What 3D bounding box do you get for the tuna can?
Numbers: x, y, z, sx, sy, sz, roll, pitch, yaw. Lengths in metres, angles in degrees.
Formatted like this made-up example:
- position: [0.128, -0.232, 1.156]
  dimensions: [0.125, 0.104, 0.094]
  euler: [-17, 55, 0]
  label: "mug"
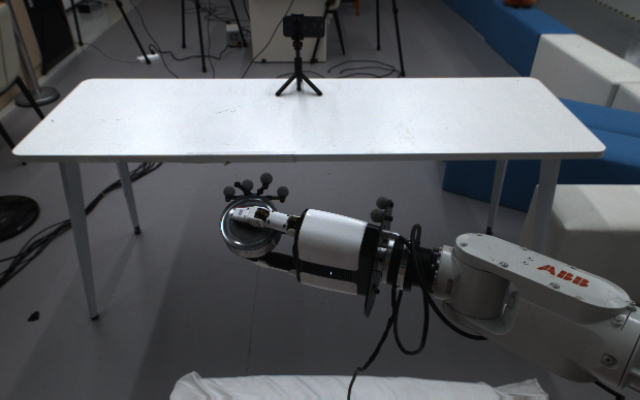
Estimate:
- position: [-0.092, 0.038, 0.682]
  dimensions: [0.085, 0.034, 0.085]
  euler: [-2, 58, 3]
  label: "tuna can"
